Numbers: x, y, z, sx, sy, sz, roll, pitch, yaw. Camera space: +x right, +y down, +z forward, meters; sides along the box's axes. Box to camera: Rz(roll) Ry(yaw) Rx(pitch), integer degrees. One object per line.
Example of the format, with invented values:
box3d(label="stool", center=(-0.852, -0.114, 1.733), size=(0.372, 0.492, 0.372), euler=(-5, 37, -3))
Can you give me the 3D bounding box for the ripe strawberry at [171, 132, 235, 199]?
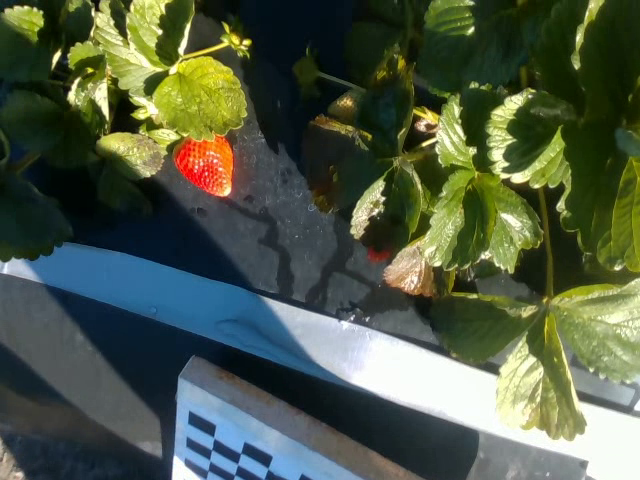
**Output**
box3d(label="ripe strawberry", center=(-0.079, -0.052, 0.423), size=(0.042, 0.059, 0.045), euler=(-35, 1, -42))
